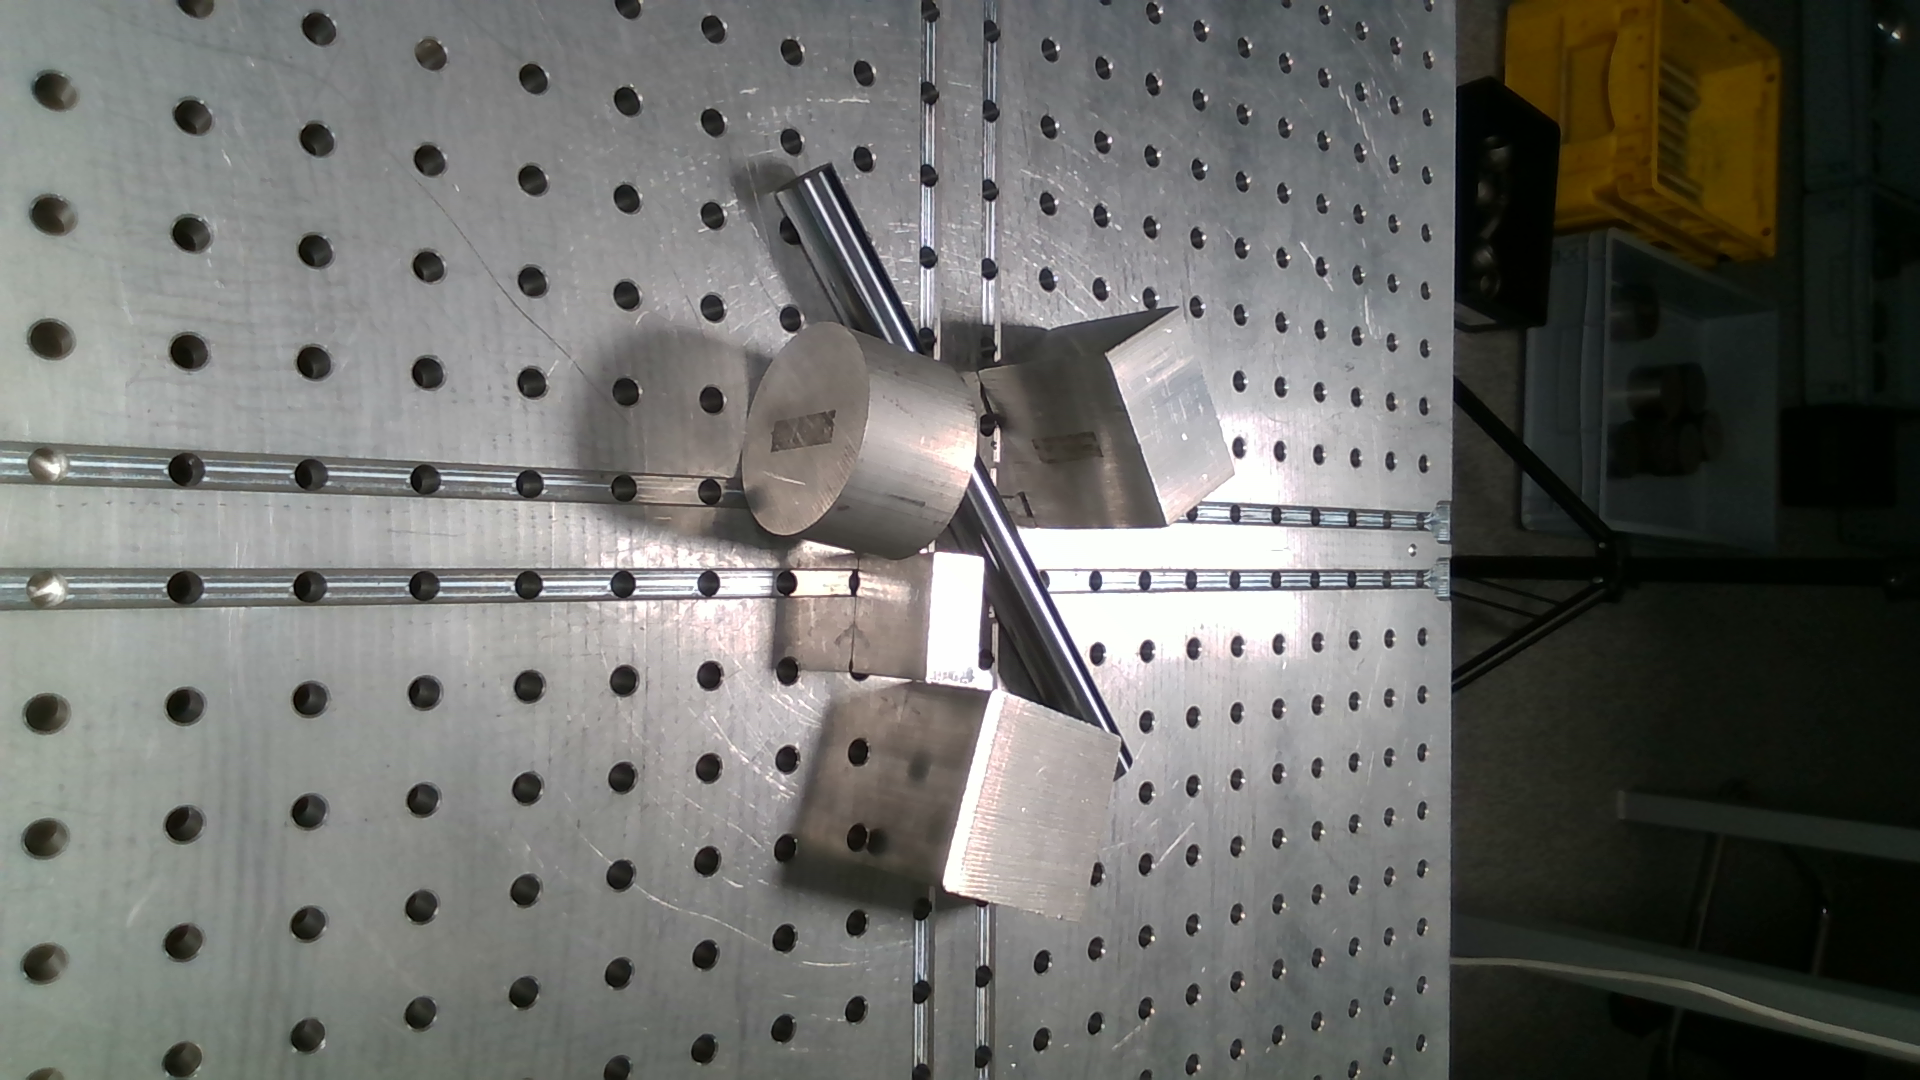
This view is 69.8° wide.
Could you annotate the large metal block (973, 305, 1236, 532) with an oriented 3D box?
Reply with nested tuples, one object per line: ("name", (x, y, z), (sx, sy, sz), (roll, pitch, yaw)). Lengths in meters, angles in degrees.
("large metal block", (0.063, -0.051, 0.605), (0.050, 0.080, 0.080), (-36, 112, -35))

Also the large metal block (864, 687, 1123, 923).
("large metal block", (0.015, 0.110, 0.580), (0.080, 0.050, 0.080), (25, 74, -38))

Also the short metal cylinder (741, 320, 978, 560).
("short metal cylinder", (-0.039, -0.036, 0.517), (0.050, 0.080, 0.080), (15, 80, -39))

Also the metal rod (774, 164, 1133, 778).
("metal rod", (0.004, -0.017, 0.589), (0.025, 0.025, 0.301), (-42, 116, -32))

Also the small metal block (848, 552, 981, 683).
("small metal block", (-0.019, 0.031, 0.554), (0.025, 0.050, 0.050), (6, 86, -40))
